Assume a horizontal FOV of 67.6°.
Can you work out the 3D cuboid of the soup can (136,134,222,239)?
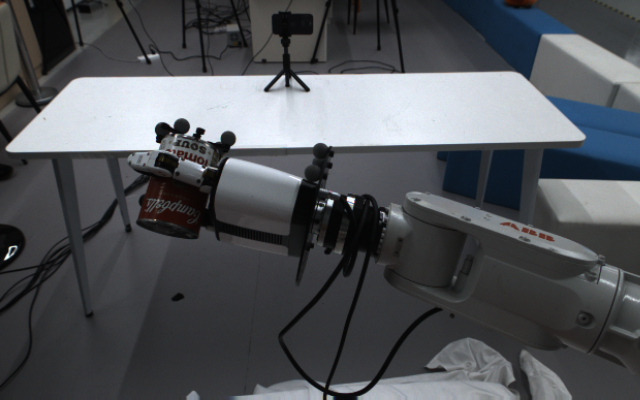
[{"bbox_3d":[-0.155,-0.013,0.537,0.067,0.067,0.101,8,72,8],"label":"soup can"}]
